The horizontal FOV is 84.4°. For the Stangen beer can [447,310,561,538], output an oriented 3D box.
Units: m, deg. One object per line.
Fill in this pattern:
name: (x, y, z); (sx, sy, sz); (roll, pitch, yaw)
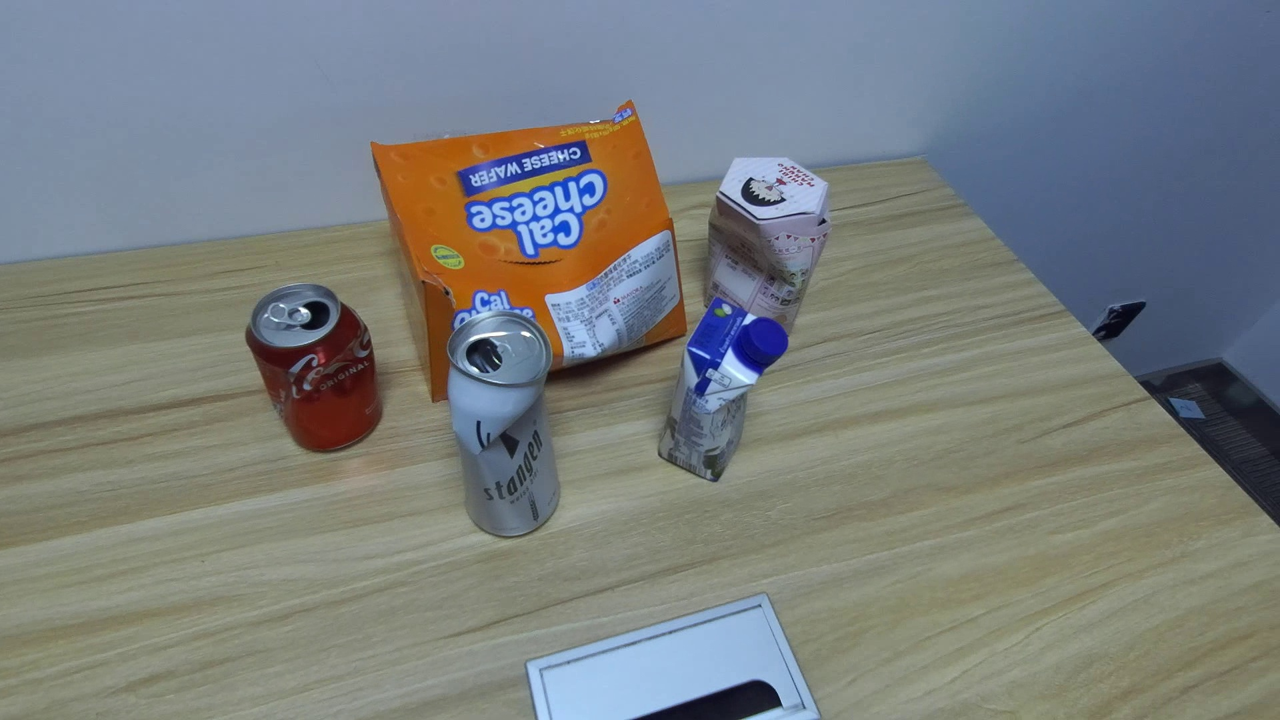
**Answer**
Stangen beer can: (-0.083, 0.045, 0.439); (0.066, 0.162, 0.077); (-17, 53, -19)

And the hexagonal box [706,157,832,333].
hexagonal box: (0.102, -0.089, 0.589); (0.090, 0.134, 0.091); (3, 48, 1)

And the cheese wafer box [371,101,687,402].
cheese wafer box: (-0.075, -0.082, 0.559); (0.219, 0.145, 0.190); (-15, 52, -18)

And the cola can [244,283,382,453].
cola can: (-0.223, 0.007, 0.486); (0.066, 0.117, 0.066); (26, 51, 14)

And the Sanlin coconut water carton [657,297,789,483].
Sanlin coconut water carton: (0.054, 0.021, 0.484); (0.057, 0.142, 0.078); (26, 51, 10)
